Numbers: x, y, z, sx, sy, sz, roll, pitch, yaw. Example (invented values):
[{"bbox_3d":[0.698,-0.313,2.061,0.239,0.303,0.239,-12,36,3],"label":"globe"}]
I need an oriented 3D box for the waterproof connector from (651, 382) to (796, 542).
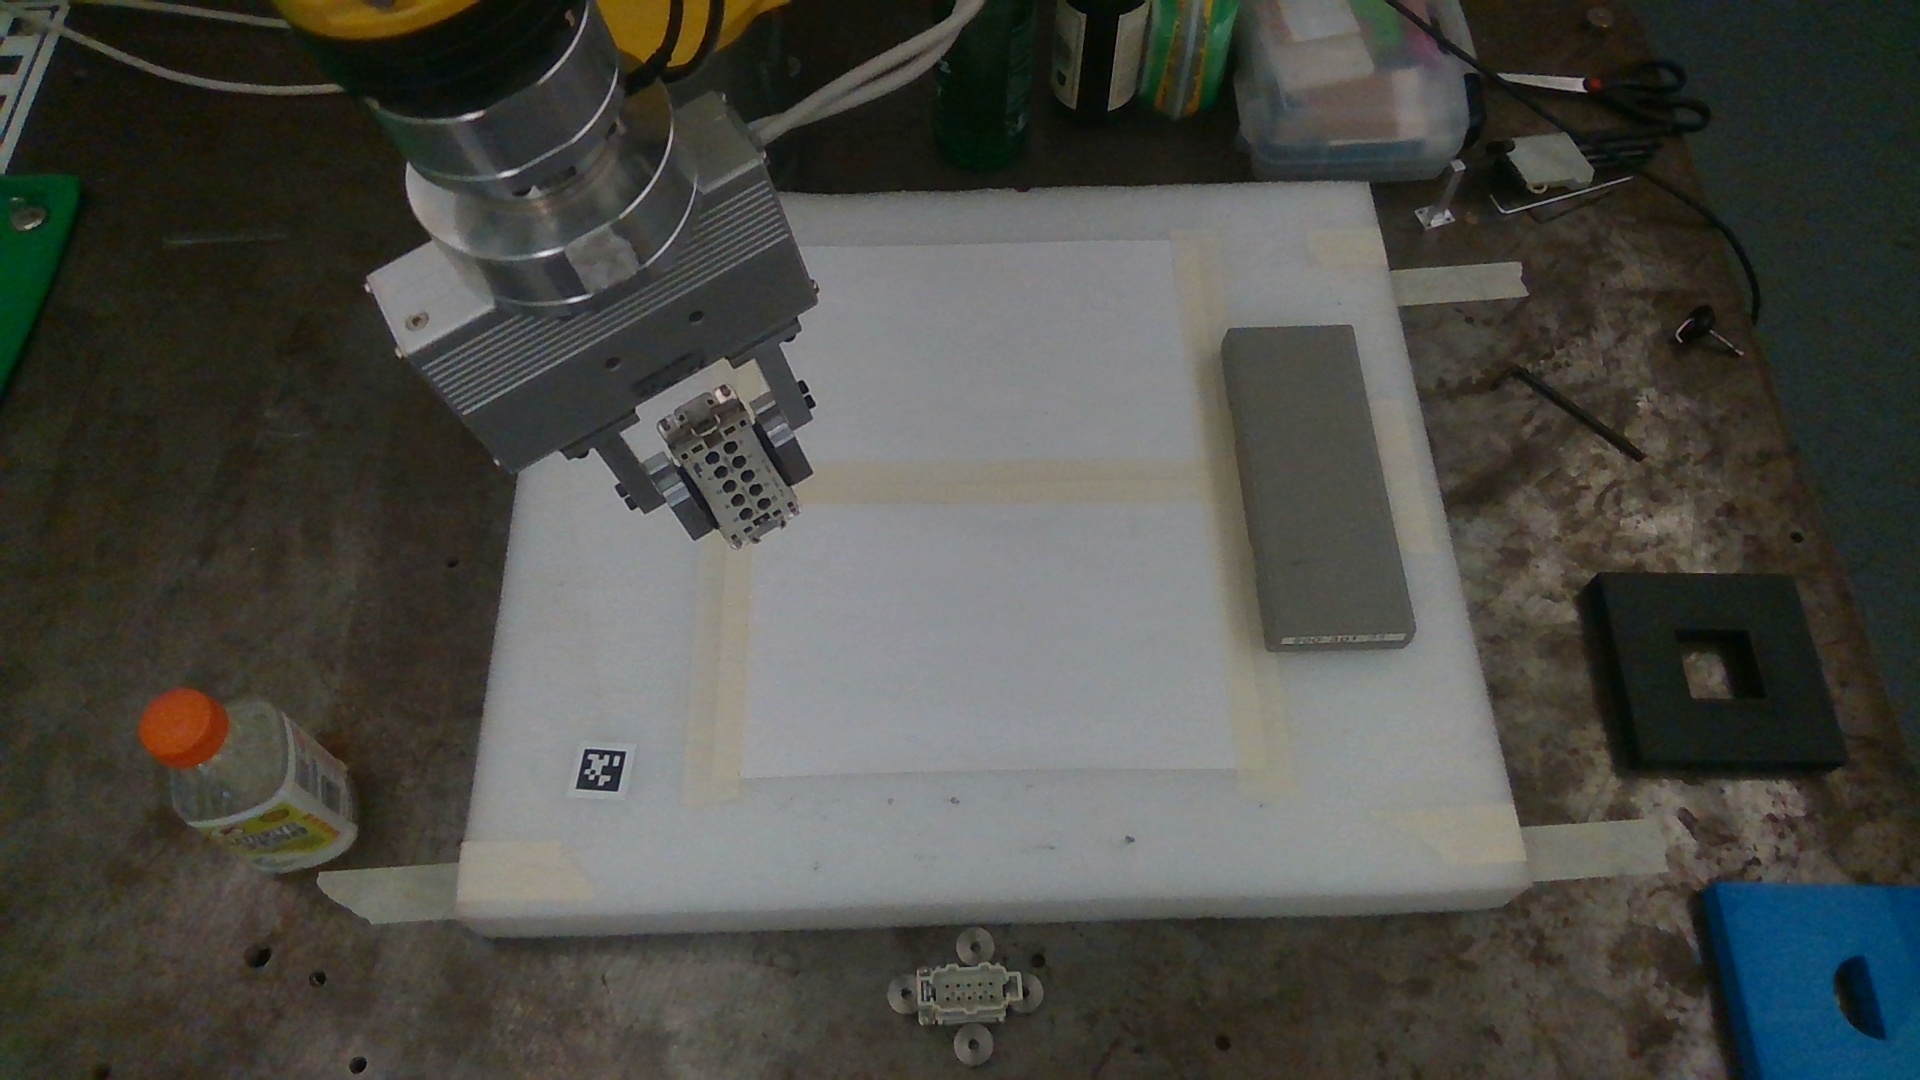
[{"bbox_3d":[-0.098,-0.033,0.581,0.037,0.069,0.039,-28,28,0],"label":"waterproof connector"}]
